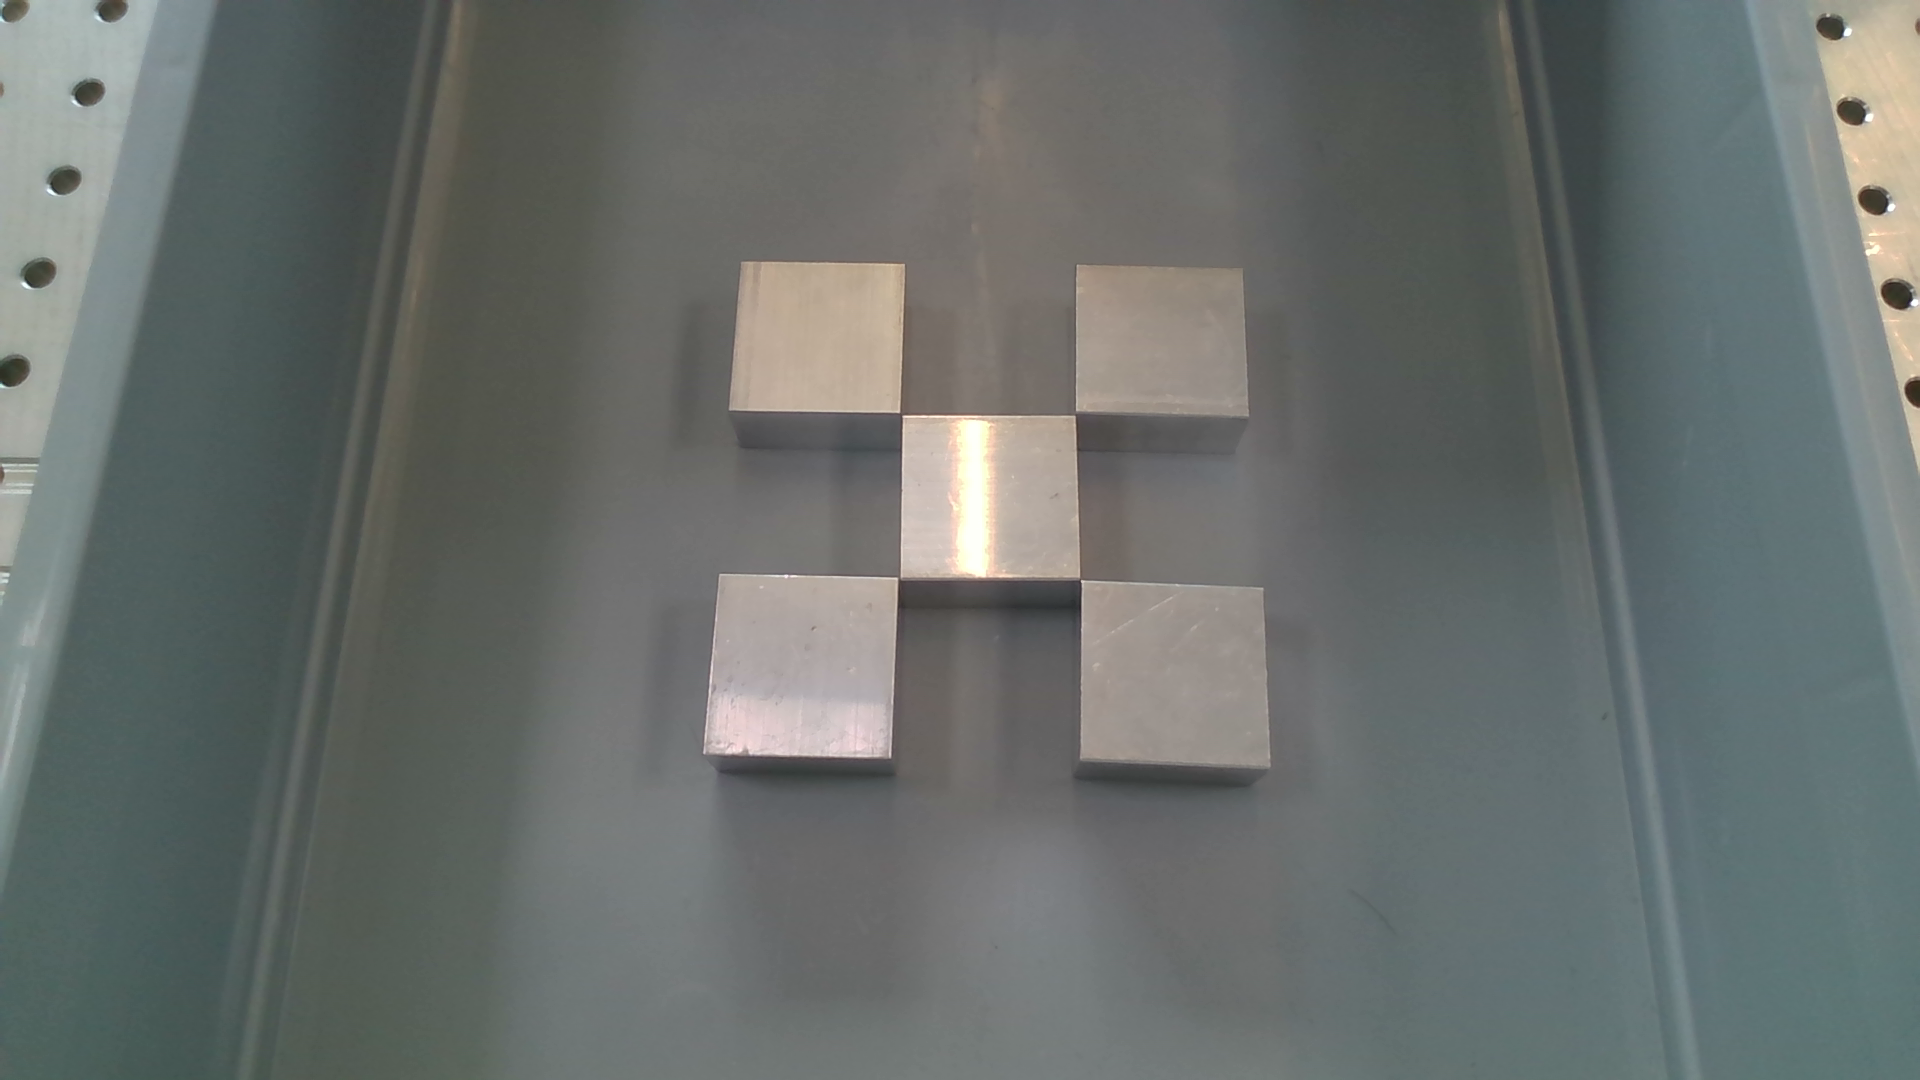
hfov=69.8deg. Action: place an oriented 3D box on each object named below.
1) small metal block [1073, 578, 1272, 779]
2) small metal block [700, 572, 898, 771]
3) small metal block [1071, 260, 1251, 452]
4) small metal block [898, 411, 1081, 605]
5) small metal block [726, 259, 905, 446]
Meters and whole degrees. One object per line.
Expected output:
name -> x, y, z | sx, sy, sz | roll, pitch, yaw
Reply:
small metal block -> 0.057, 0.039, 0.380 | 0.050, 0.025, 0.050 | 2, 70, 1
small metal block -> -0.043, 0.037, 0.381 | 0.050, 0.025, 0.050 | 1, 70, 0
small metal block -> 0.059, -0.055, 0.414 | 0.050, 0.025, 0.050 | 1, 70, 1
small metal block -> 0.008, -0.009, 0.397 | 0.050, 0.025, 0.050 | 0, 70, 0
small metal block -> -0.042, -0.056, 0.414 | 0.050, 0.025, 0.050 | 1, 70, 0
